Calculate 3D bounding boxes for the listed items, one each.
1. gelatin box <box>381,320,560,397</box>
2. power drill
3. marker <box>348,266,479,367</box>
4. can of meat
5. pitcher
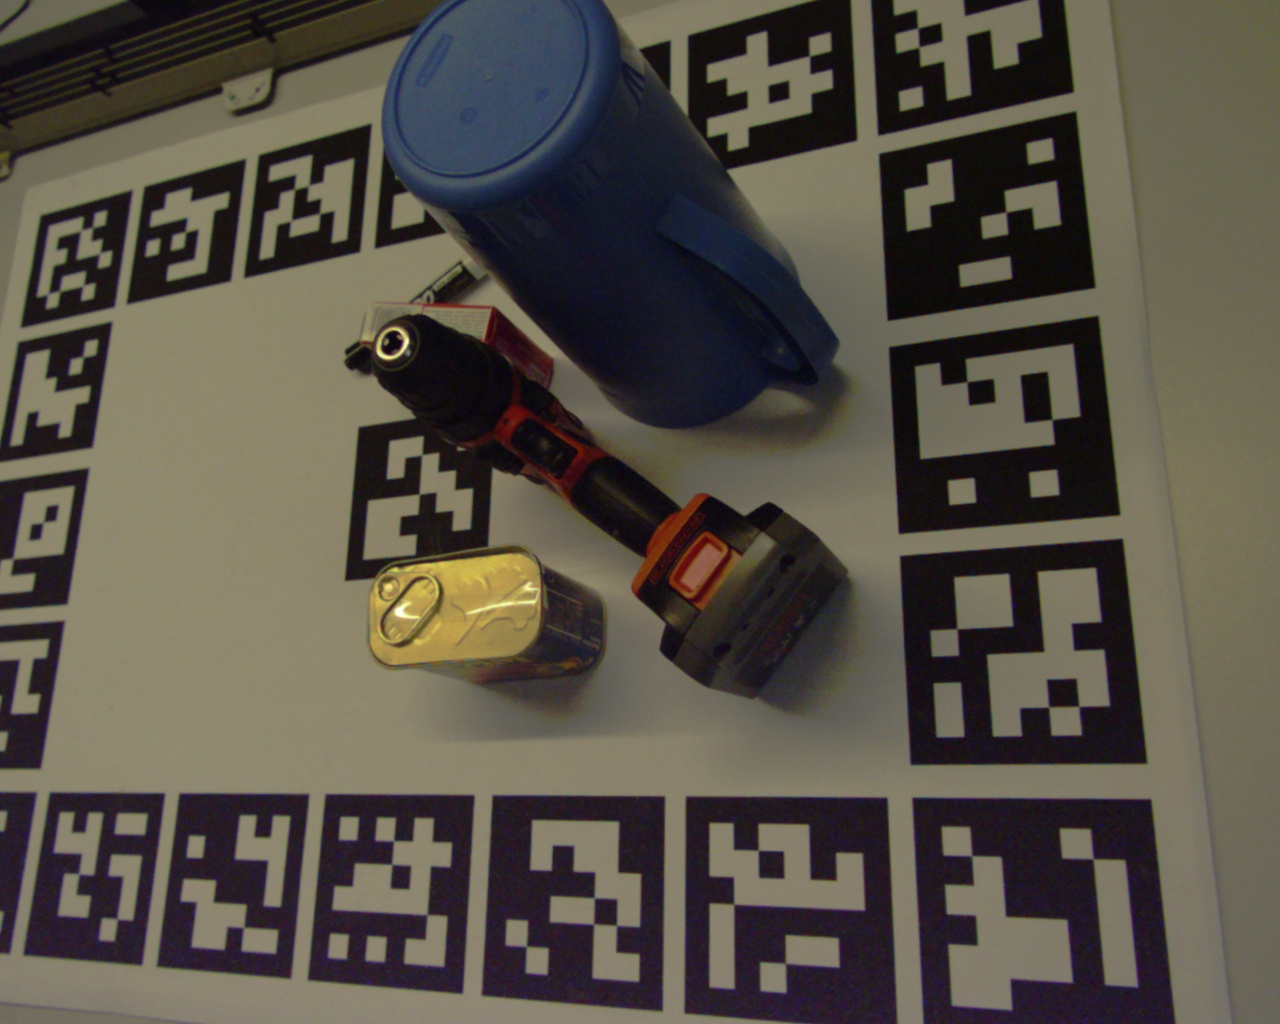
[{"bbox_3d":[-0.104,-0.093,0.701,0.090,0.072,0.030,5,82,23],"label":"gelatin box"},{"bbox_3d":[-0.035,-0.021,0.589,0.189,0.182,0.057,31,93,22],"label":"power drill"},{"bbox_3d":[-0.146,-0.134,0.757,0.121,0.019,0.020,-34,66,14],"label":"marker"},{"bbox_3d":[-0.079,0.060,0.639,0.103,0.083,0.058,-8,72,22],"label":"can of meat"},{"bbox_3d":[-0.001,-0.131,0.577,0.191,0.239,0.133,29,93,34],"label":"pitcher"}]
